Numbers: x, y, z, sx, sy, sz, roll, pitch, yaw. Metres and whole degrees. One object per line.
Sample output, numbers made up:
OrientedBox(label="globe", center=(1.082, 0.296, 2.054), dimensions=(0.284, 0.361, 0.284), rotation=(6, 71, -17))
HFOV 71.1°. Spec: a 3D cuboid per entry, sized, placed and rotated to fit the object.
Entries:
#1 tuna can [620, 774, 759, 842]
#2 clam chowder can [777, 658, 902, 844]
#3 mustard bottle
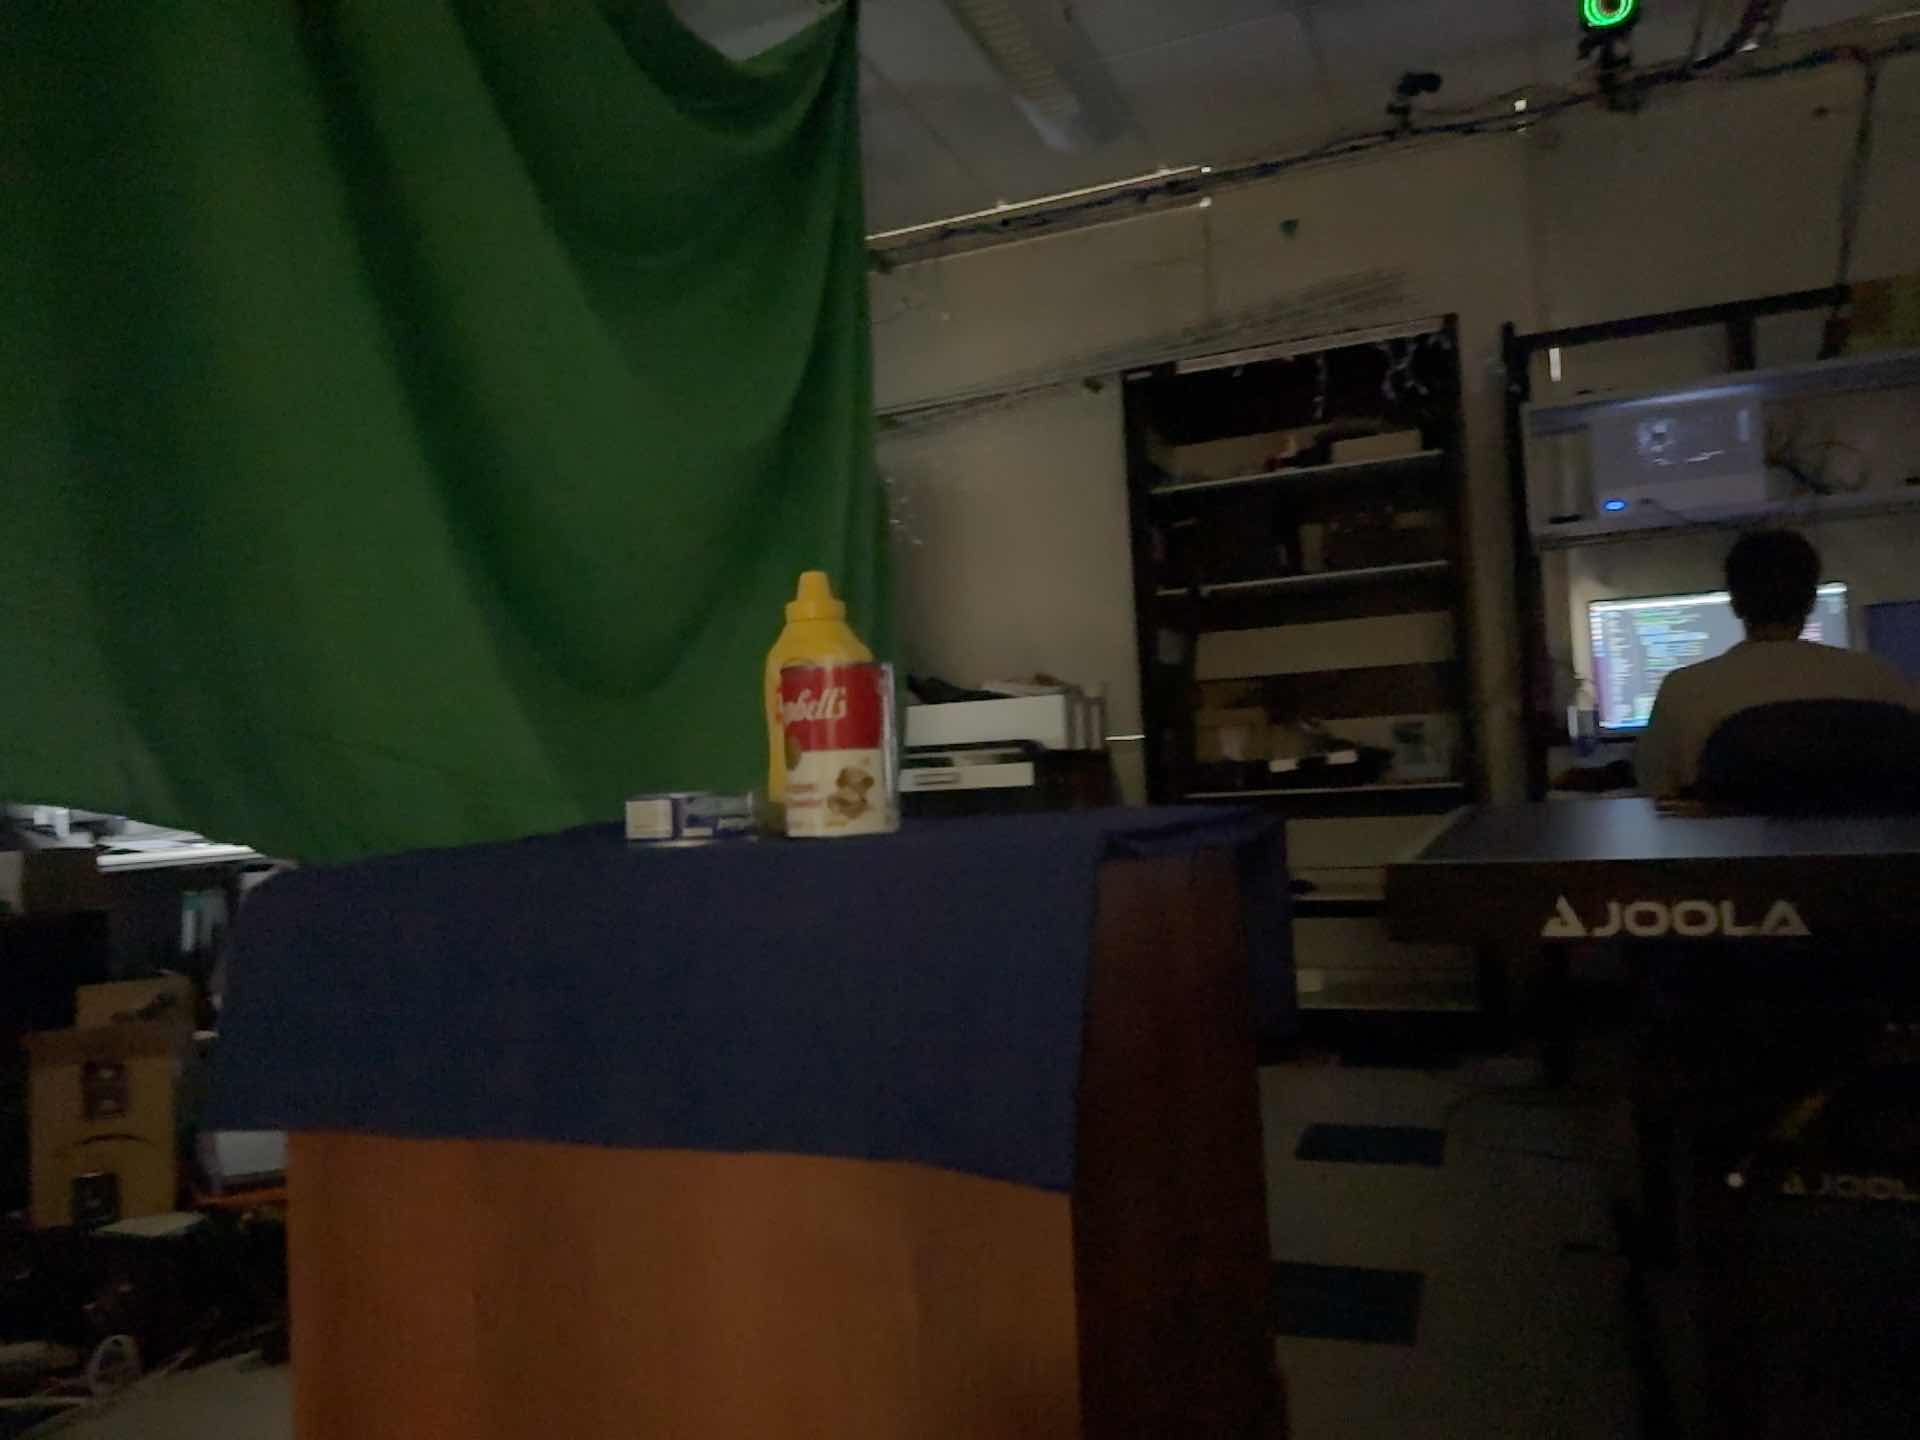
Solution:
OrientedBox(label="tuna can", center=(-0.170, 0.054, 0.841), dimensions=(0.083, 0.034, 0.083), rotation=(-4, 1, 0))
OrientedBox(label="clam chowder can", center=(-0.069, 0.017, 0.778), dimensions=(0.068, 0.102, 0.068), rotation=(-4, 1, 0))
OrientedBox(label="mustard bottle", center=(-0.095, -0.006, 0.896), dimensions=(0.092, 0.184, 0.054), rotation=(-3, 2, 37))
